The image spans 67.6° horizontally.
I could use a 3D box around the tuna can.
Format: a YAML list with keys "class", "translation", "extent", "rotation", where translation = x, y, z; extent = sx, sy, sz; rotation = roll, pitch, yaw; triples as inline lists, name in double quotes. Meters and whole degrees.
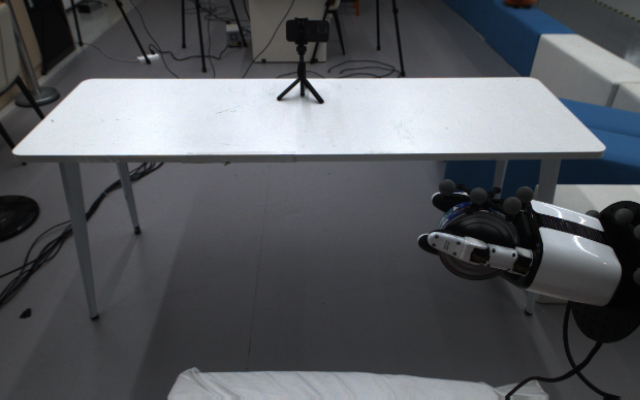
- class: "tuna can"
  translation: [0.175, 0.043, 0.537]
  extent: [0.085, 0.085, 0.034]
  rotation: [7, 21, 7]
